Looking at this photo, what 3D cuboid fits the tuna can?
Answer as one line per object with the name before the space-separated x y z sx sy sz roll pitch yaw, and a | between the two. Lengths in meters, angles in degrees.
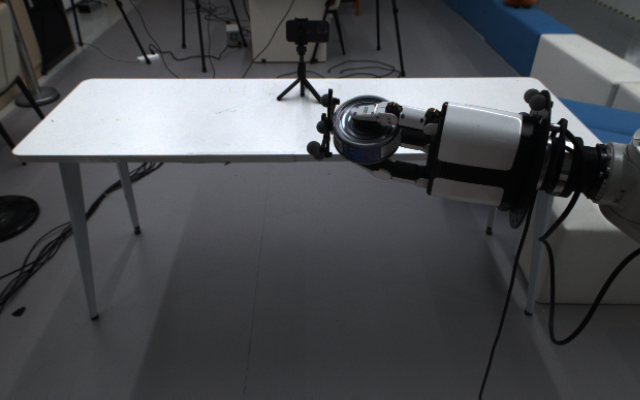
tuna can | 0.061 -0.085 0.596 0.085 0.034 0.085 -2 57 3
